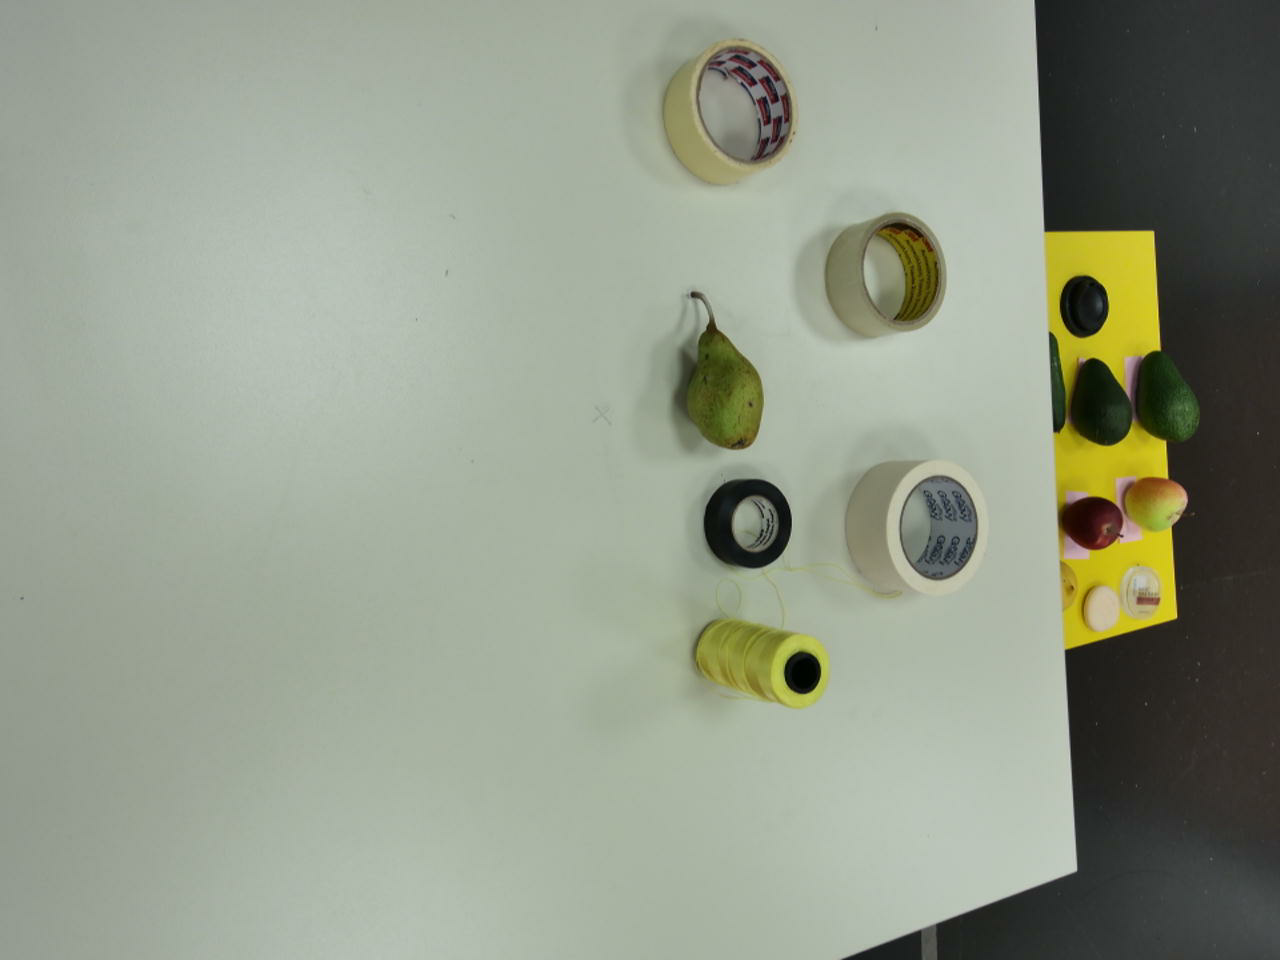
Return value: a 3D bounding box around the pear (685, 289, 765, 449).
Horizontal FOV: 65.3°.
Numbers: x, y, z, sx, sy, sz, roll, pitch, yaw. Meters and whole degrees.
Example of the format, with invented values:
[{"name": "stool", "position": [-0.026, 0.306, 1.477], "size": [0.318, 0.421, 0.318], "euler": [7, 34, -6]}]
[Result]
[{"name": "pear", "position": [0.063, -0.078, 0.707], "size": [0.056, 0.056, 0.111], "euler": [11, 85, -28]}]
